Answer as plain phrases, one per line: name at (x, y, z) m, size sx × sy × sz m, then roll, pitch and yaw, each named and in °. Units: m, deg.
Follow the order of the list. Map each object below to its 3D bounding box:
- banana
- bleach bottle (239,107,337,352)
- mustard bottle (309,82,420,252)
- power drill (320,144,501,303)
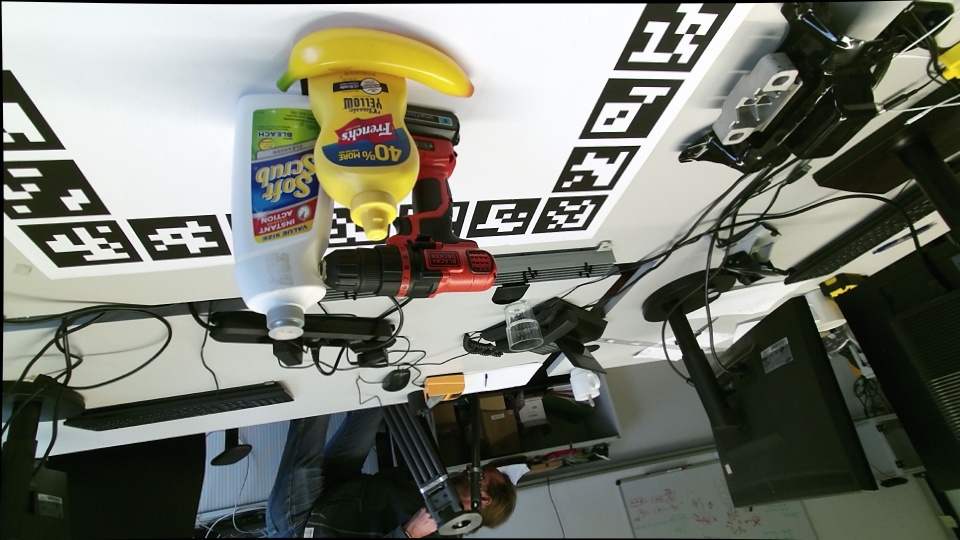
banana at (-0.102, -0.190, 0.531) m, size 0.198 × 0.038 × 0.074 m, roll -5°, pitch 149°, yaw -20°
bleach bottle at (-0.182, -0.044, 0.530) m, size 0.103 × 0.249 × 0.068 m, roll -4°, pitch 156°, yaw -17°
mustard bottle at (-0.109, -0.100, 0.510) m, size 0.096 × 0.190 × 0.058 m, roll -5°, pitch 150°, yaw -15°
power drill at (-0.078, -0.050, 0.571) m, size 0.185 × 0.186 × 0.057 m, roll 2°, pitch 149°, yaw -24°
